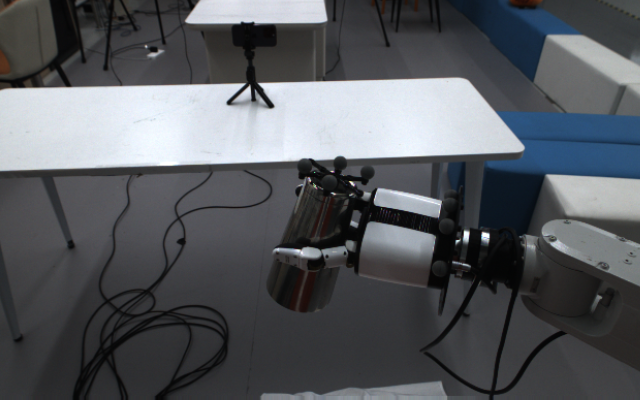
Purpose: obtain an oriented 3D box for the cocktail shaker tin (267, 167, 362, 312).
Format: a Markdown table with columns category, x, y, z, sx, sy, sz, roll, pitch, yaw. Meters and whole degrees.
| category | x | y | z | sx | sy | sz | roll | pitch | yaw |
| --- | --- | --- | --- | --- | --- | --- | --- | --- | --- |
| cocktail shaker tin | -0.004 | 0.049 | 0.621 | 0.093 | 0.170 | 0.093 | 12 | 29 | -7 |
